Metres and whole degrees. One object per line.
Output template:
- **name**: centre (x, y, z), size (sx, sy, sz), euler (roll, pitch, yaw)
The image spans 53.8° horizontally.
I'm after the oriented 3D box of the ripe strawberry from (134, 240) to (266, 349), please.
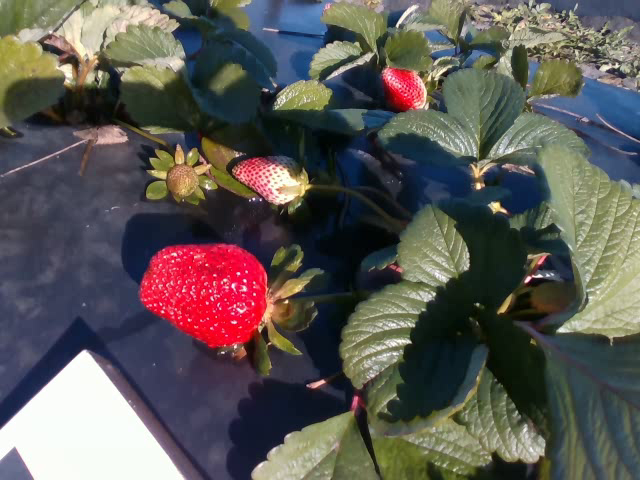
- **ripe strawberry**: centre (-0.049, 0.022, 0.258), size (0.058, 0.066, 0.061), euler (-22, -33, 36)
